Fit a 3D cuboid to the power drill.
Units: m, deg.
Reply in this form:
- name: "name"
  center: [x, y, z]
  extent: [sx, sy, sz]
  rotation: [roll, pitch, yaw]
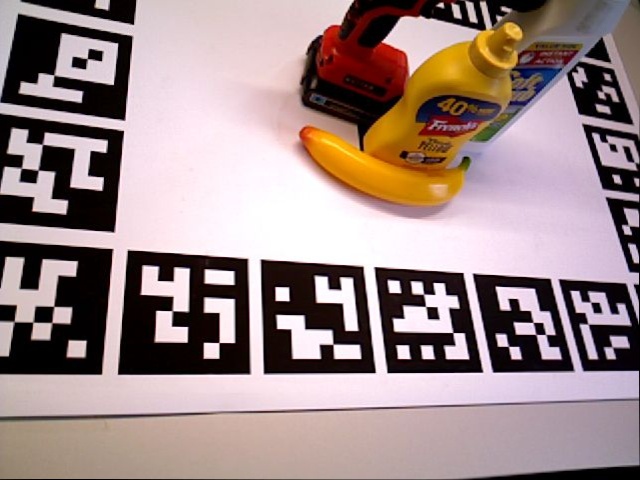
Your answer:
- name: "power drill"
  center: [0.086, -0.203, 0.491]
  extent: [0.183, 0.191, 0.056]
  rotation: [17, 61, -16]

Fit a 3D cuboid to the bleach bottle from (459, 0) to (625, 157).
- name: "bleach bottle"
  center: [0.191, -0.183, 0.519]
  extent: [0.101, 0.257, 0.067]
  rotation: [8, 59, -19]

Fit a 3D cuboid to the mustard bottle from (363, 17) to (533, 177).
- name: "mustard bottle"
  center: [0.121, -0.126, 0.496]
  extent: [0.095, 0.196, 0.058]
  rotation: [6, 65, -20]

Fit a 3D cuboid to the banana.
- name: "banana"
  center: [0.073, -0.066, 0.553]
  extent: [0.195, 0.039, 0.073]
  rotation: [9, 66, -15]
